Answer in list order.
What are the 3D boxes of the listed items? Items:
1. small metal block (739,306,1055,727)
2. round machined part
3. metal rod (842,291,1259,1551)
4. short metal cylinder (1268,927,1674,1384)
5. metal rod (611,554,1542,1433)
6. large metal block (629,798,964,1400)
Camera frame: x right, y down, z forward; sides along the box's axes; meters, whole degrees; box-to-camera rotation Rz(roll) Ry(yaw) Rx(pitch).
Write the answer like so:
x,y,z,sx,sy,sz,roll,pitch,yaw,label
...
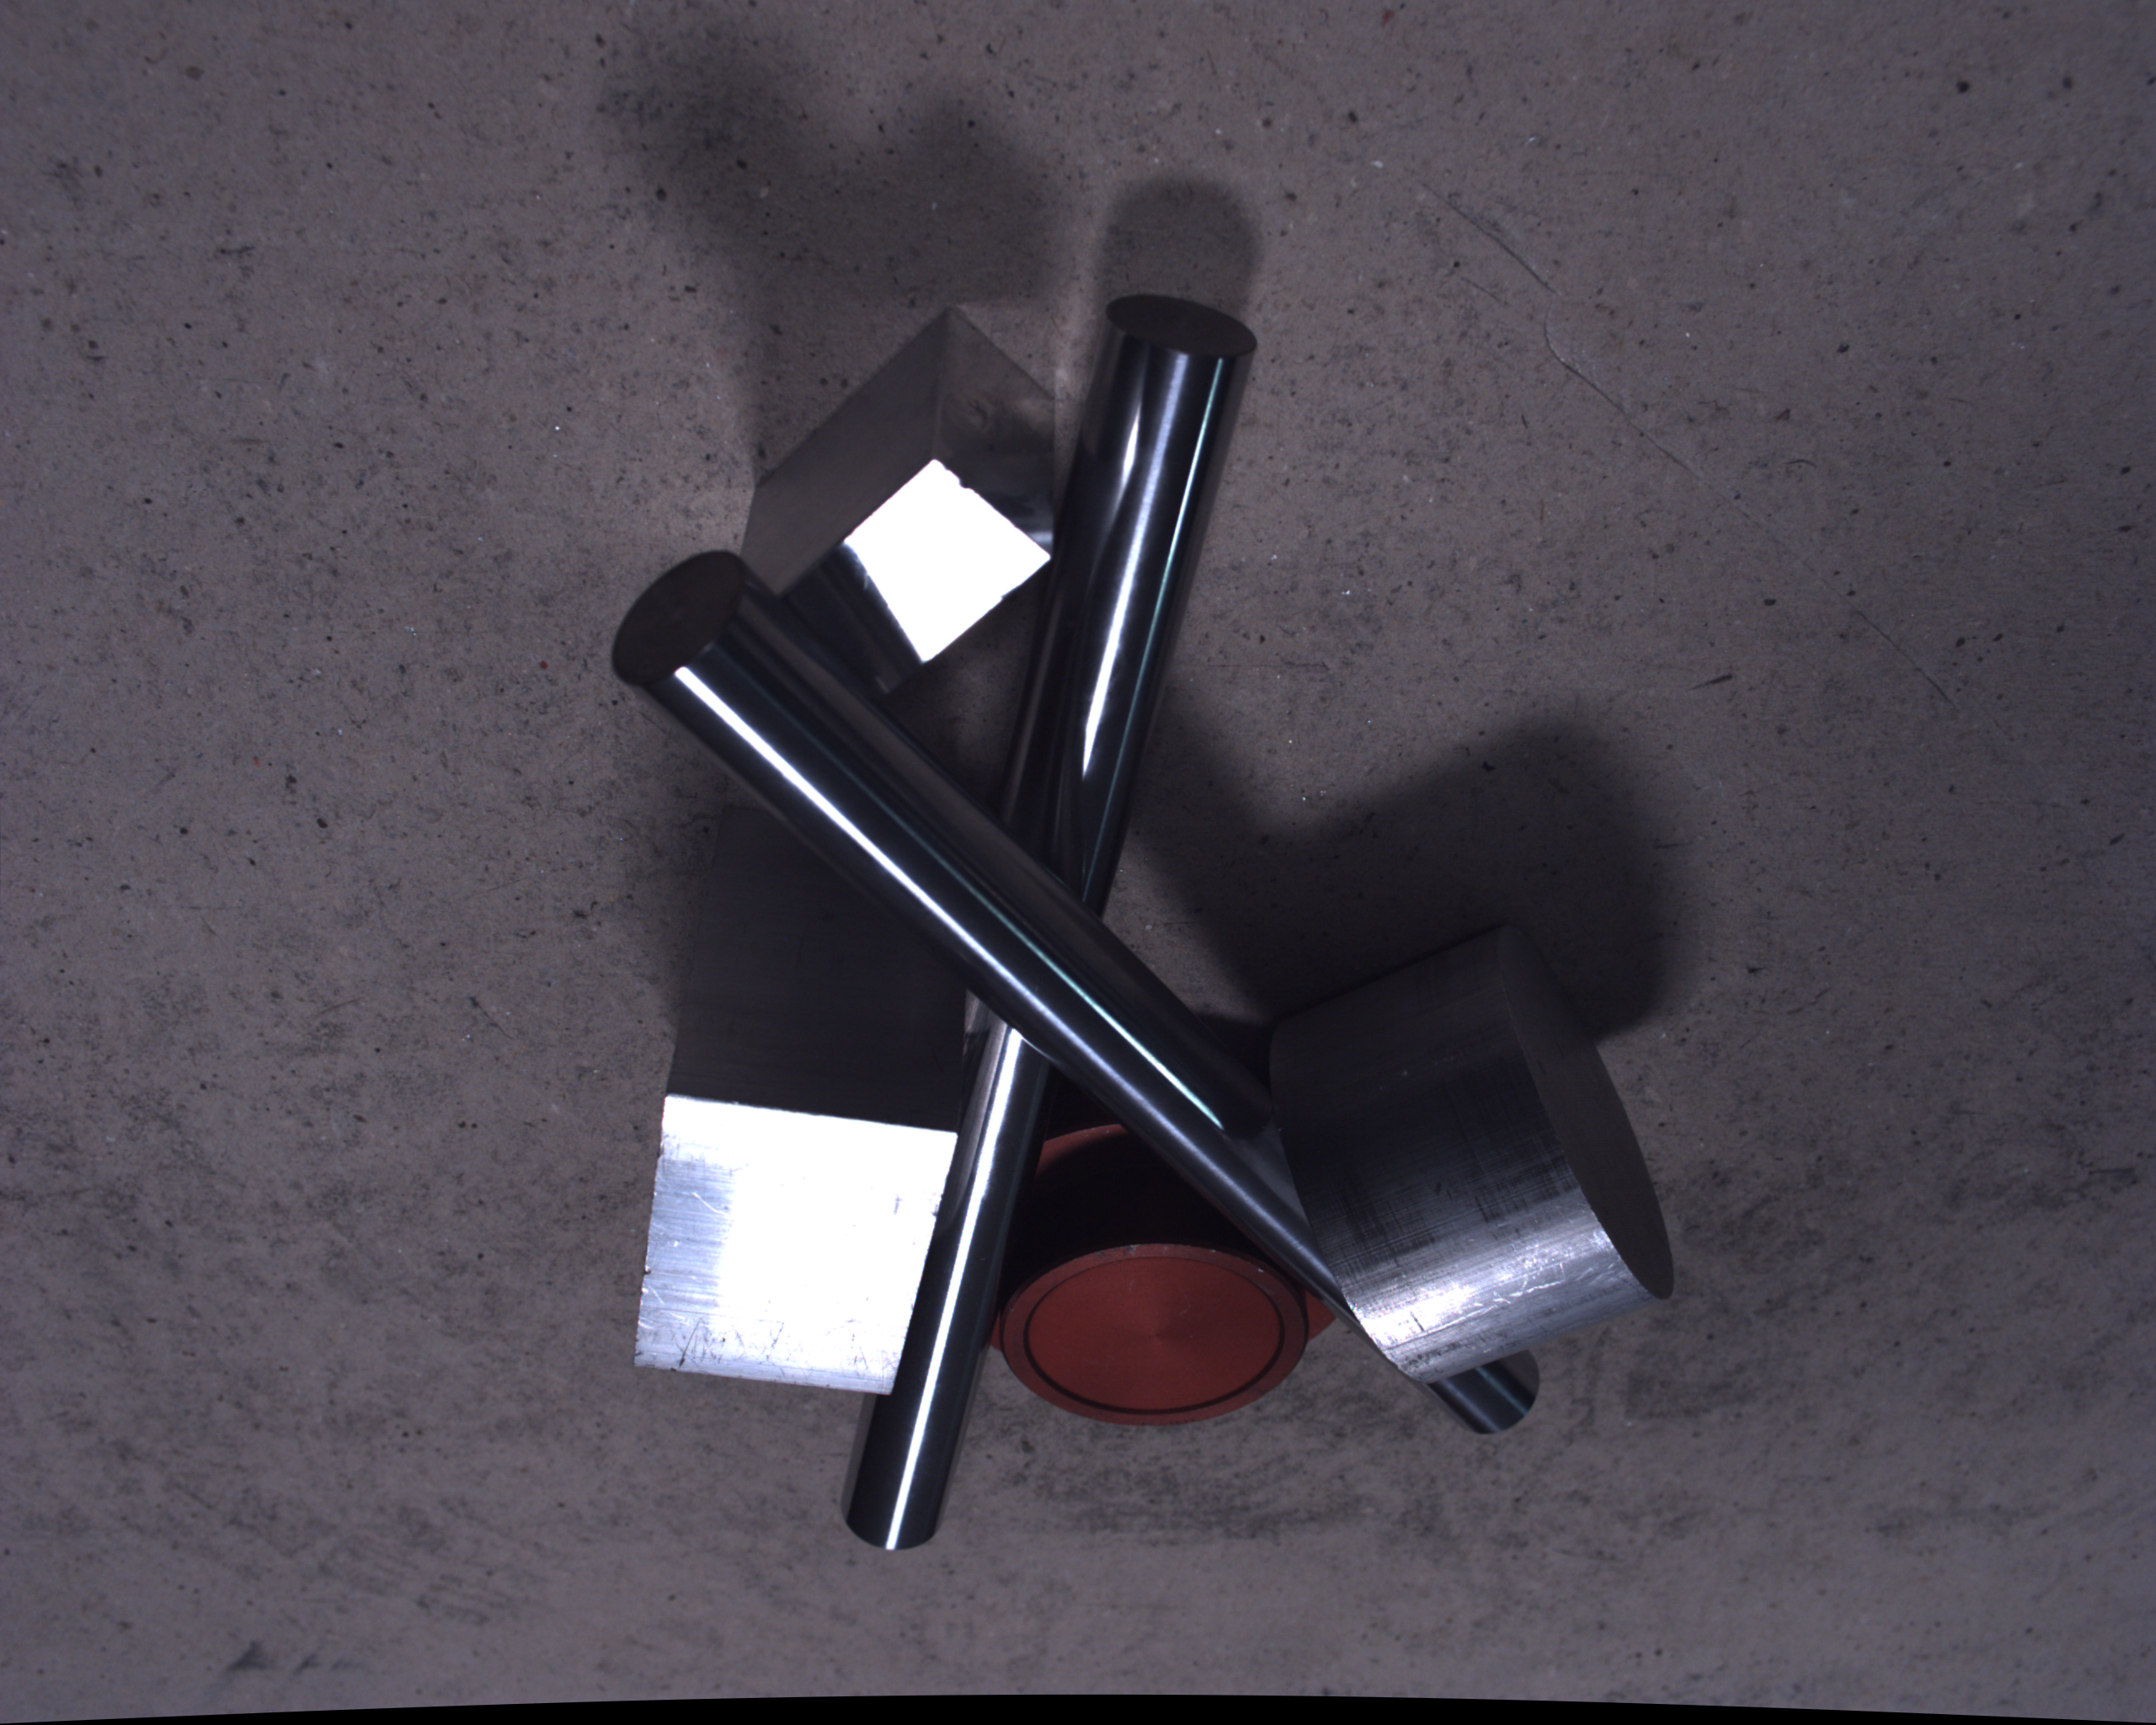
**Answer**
x,y,z,sx,sy,sz,roll,pitch,yaw,label
-0.030,-0.056,0.344,0.050,0.050,0.025,-37,121,27,small metal block
0.017,0.092,0.477,0.099,0.042,0.097,-1,130,0,round machined part
-0.014,0.034,0.417,0.025,0.025,0.298,9,124,-8,metal rod
0.080,0.059,0.425,0.050,0.080,0.080,-26,126,20,short metal cylinder
0.021,0.045,0.402,0.025,0.025,0.300,-26,135,20,metal rod
-0.054,0.046,0.412,0.050,0.080,0.079,9,130,-8,large metal block
